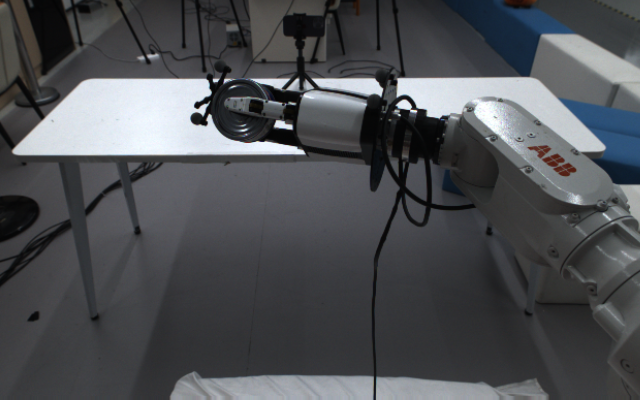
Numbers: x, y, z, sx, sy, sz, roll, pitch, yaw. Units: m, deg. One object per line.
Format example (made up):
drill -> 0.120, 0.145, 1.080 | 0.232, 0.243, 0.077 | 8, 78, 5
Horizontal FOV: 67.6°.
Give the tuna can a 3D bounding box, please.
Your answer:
tuna can -> -0.101, -0.119, 0.660 | 0.085, 0.085, 0.034 | 9, 5, 10
